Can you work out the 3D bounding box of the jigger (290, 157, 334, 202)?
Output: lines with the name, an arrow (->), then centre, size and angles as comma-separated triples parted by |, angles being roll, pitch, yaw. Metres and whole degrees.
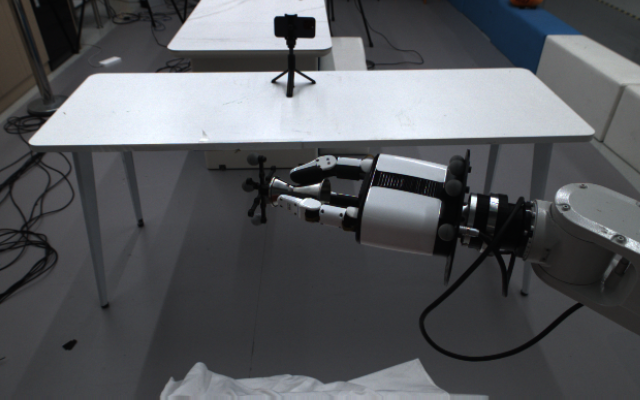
jigger -> -0.018, -0.011, 0.604 | 0.071, 0.043, 0.043 | 5, 34, 17
